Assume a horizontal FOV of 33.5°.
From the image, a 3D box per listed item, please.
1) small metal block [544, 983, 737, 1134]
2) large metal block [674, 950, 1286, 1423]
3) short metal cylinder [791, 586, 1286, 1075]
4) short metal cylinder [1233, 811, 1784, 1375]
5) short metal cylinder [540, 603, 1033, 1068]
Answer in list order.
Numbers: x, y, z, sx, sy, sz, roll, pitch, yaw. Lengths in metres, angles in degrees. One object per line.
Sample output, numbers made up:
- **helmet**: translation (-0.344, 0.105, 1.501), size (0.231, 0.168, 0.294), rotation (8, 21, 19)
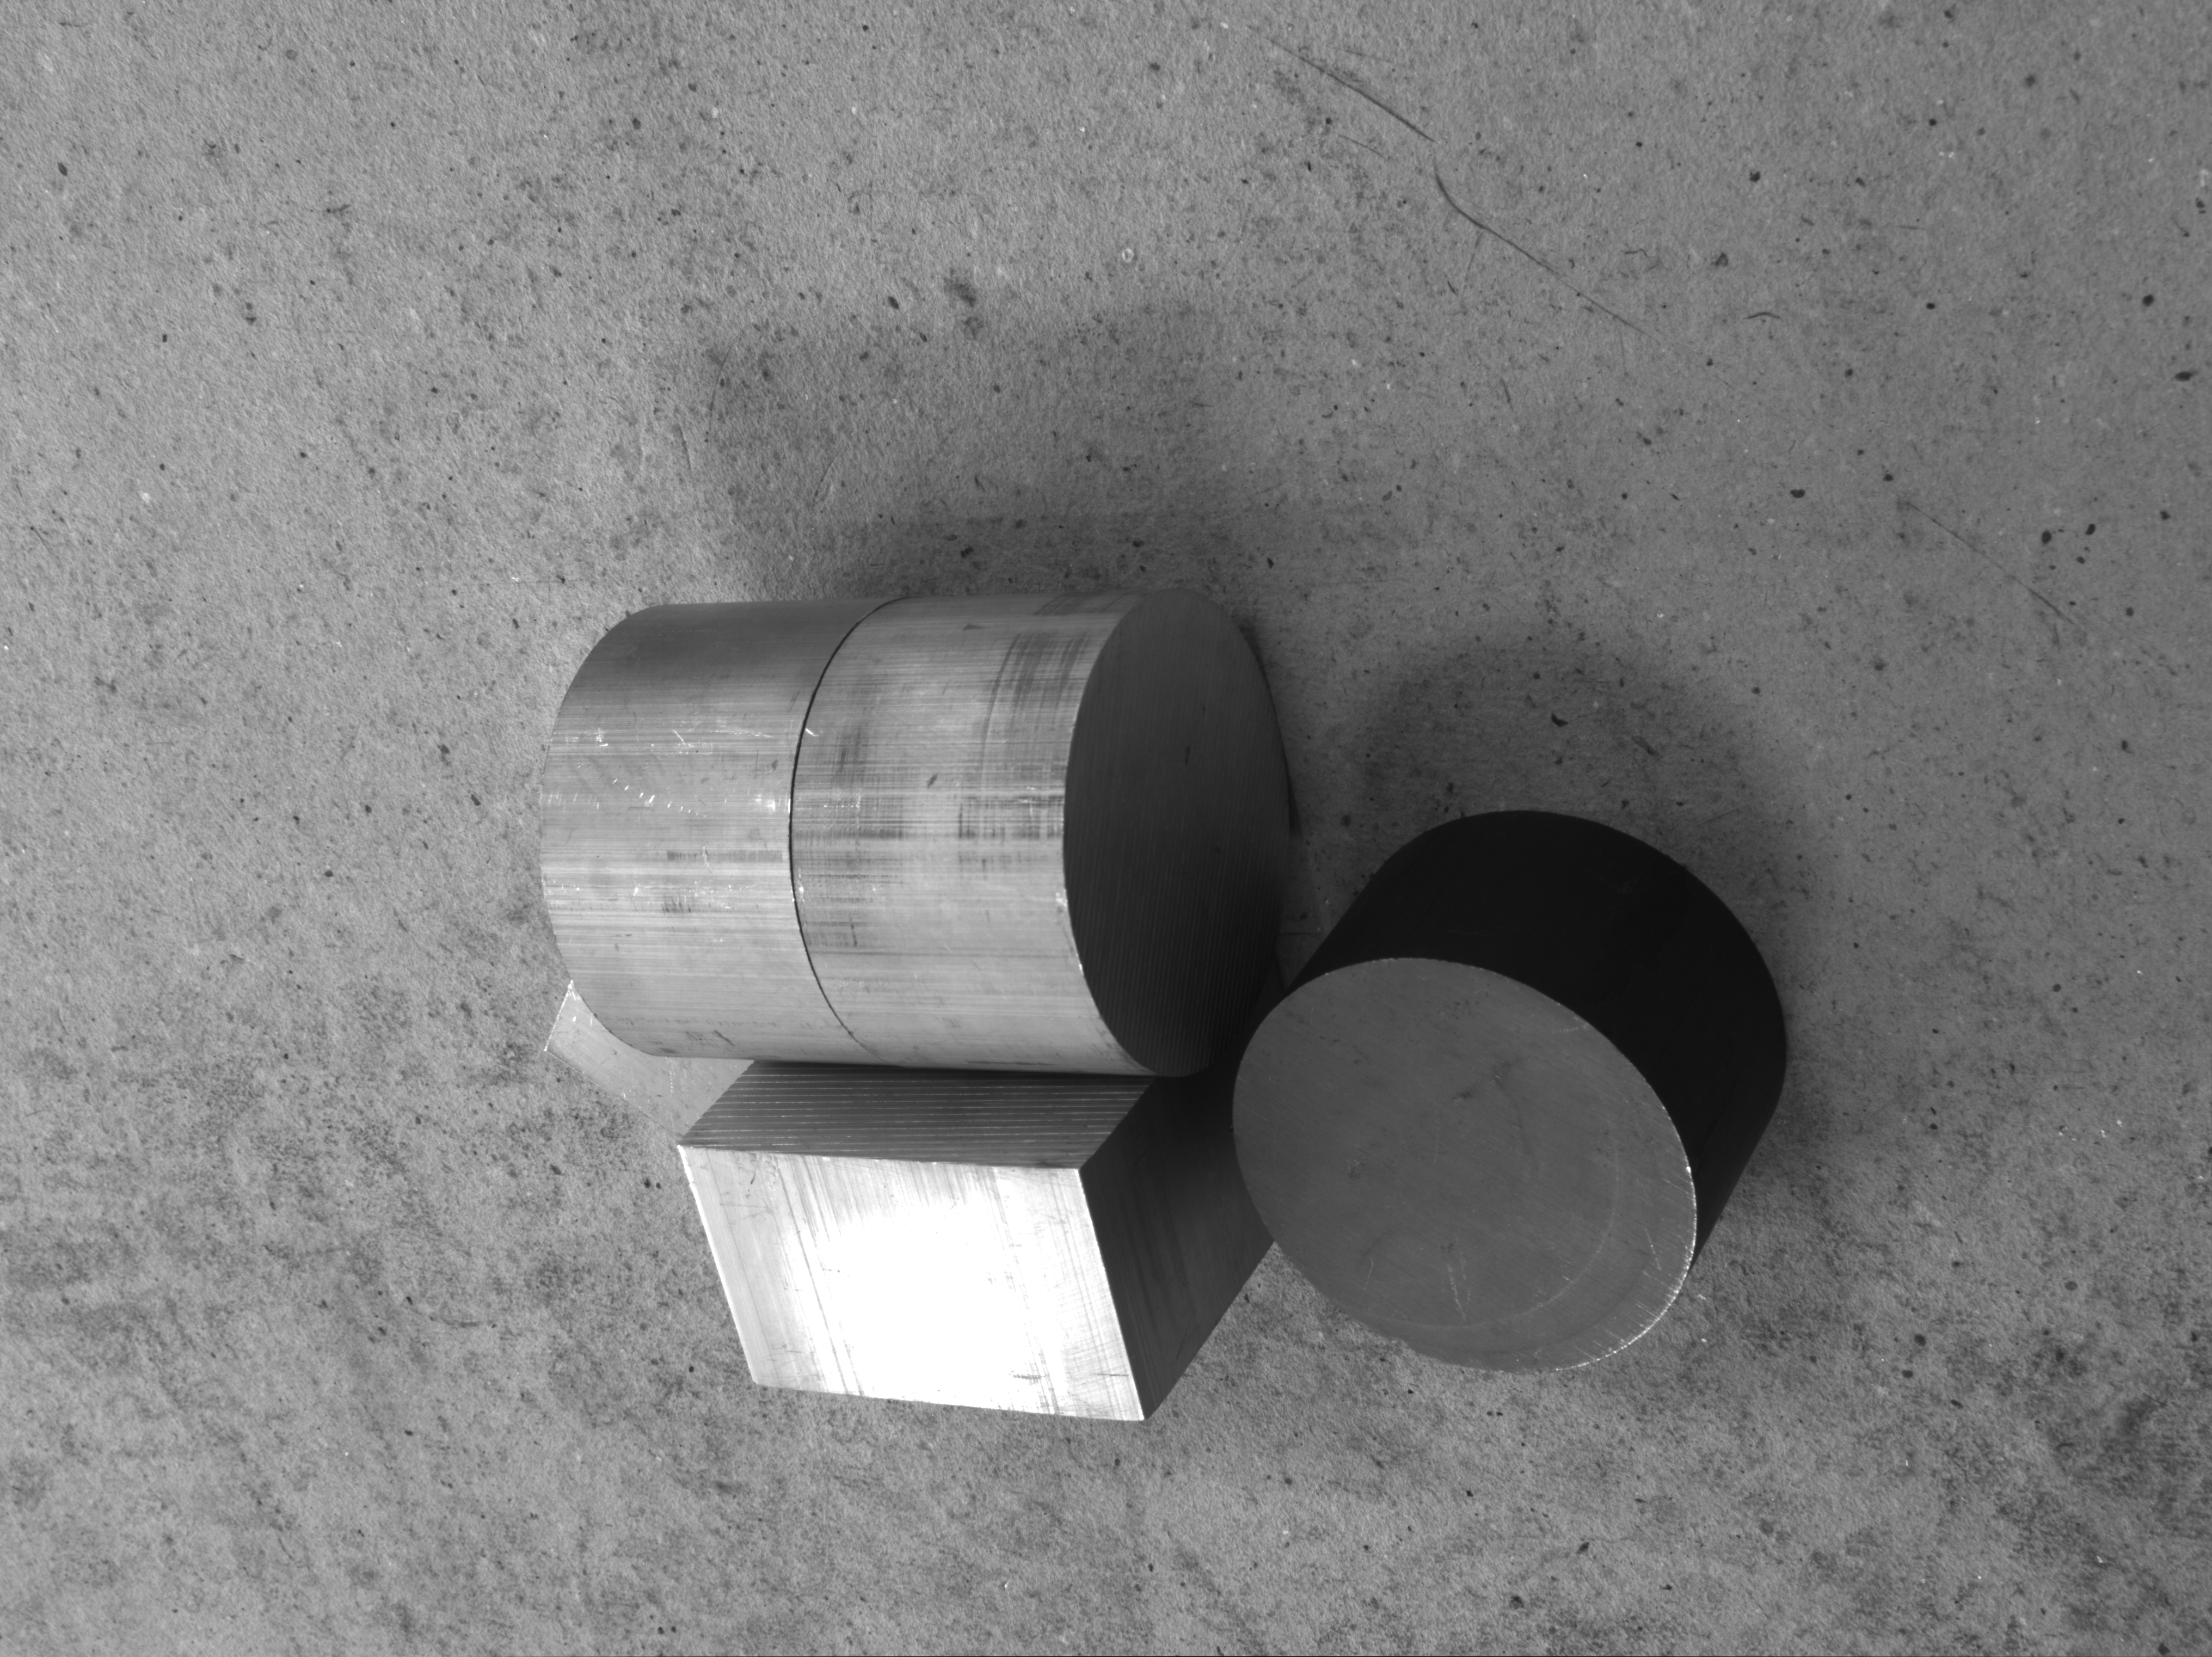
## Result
- **small metal block**: translation (-0.074, 0.033, 0.704), size (0.050, 0.025, 0.050), rotation (33, 129, 7)
- **large metal block**: translation (-0.017, 0.058, 0.653), size (0.080, 0.080, 0.050), rotation (1, 119, 28)
- **short metal cylinder**: translation (-0.010, 0.000, 0.614), size (0.050, 0.080, 0.080), rotation (1, 119, 28)
- **short metal cylinder**: translation (0.068, 0.044, 0.617), size (0.080, 0.050, 0.080), rotation (13, 124, 21)
- **short metal cylinder**: translation (-0.054, 0.001, 0.638), size (0.050, 0.080, 0.080), rotation (1, 119, 28)
